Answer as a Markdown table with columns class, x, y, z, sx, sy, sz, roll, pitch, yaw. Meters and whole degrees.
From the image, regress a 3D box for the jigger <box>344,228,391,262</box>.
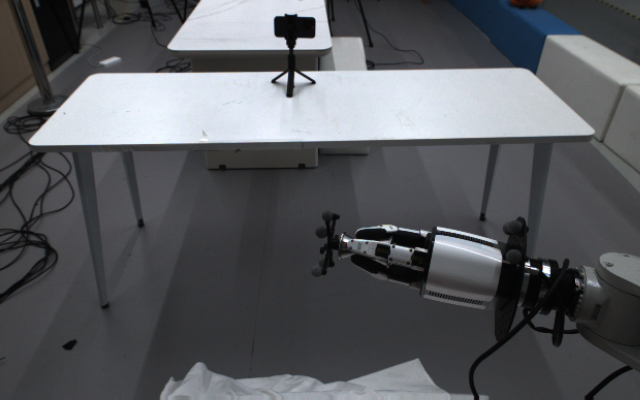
| class | x | y | z | sx | sy | sz | roll | pitch | yaw |
| --- | --- | --- | --- | --- | --- | --- | --- | --- | --- |
| jigger | 0.069 | 0.064 | 0.659 | 0.071 | 0.043 | 0.043 | 7 | 35 | 14 |
